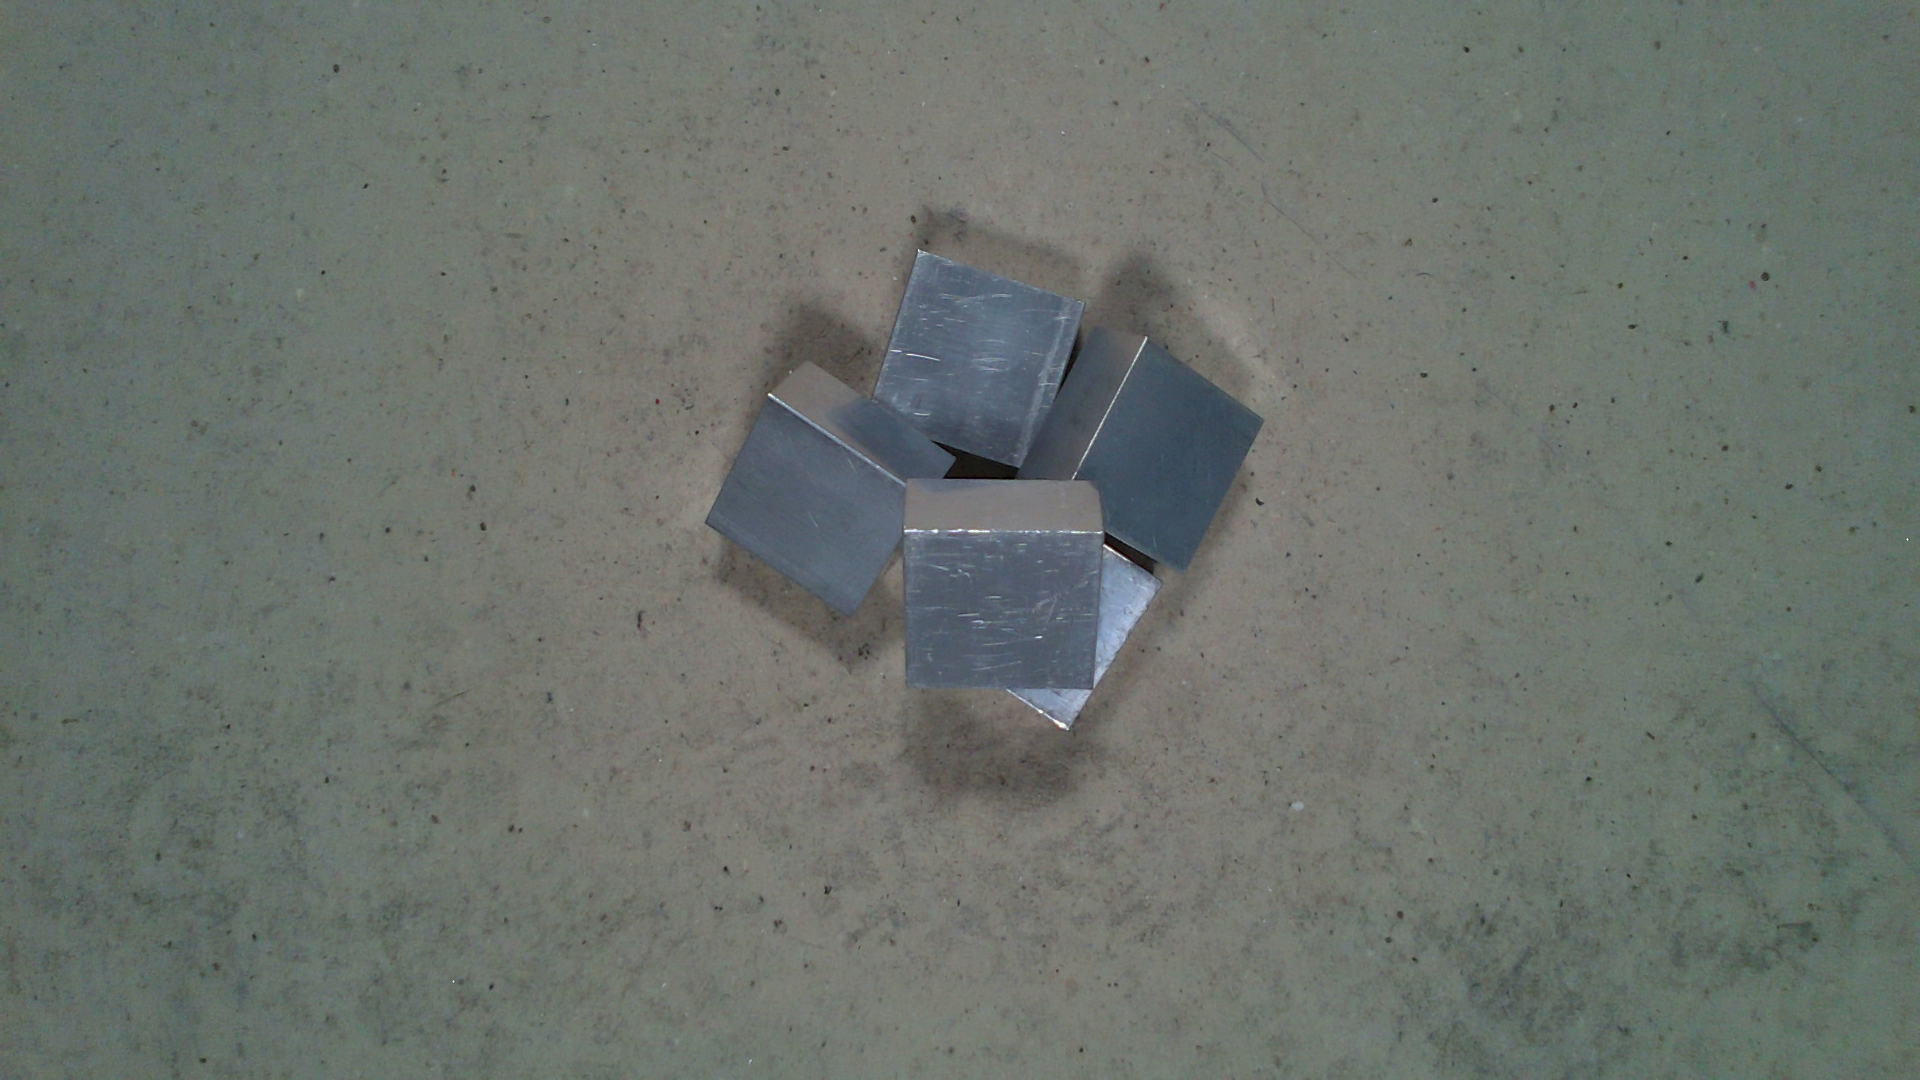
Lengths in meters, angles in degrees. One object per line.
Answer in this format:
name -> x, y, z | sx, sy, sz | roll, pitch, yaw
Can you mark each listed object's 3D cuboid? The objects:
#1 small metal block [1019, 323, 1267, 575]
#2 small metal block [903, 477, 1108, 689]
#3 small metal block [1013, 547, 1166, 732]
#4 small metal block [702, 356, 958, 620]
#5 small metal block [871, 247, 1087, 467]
small metal block -> 0.050, -0.025, 0.384 | 0.050, 0.025, 0.050 | 28, 90, -34
small metal block -> 0.011, 0.011, 0.359 | 0.050, 0.025, 0.050 | 0, 123, 0
small metal block -> 0.023, 0.019, 0.396 | 0.050, 0.025, 0.050 | 33, 90, 0
small metal block -> -0.037, -0.014, 0.384 | 0.050, 0.025, 0.050 | 33, 126, -1
small metal block -> 0.004, -0.050, 0.396 | 0.050, 0.025, 0.050 | 17, 90, 0
